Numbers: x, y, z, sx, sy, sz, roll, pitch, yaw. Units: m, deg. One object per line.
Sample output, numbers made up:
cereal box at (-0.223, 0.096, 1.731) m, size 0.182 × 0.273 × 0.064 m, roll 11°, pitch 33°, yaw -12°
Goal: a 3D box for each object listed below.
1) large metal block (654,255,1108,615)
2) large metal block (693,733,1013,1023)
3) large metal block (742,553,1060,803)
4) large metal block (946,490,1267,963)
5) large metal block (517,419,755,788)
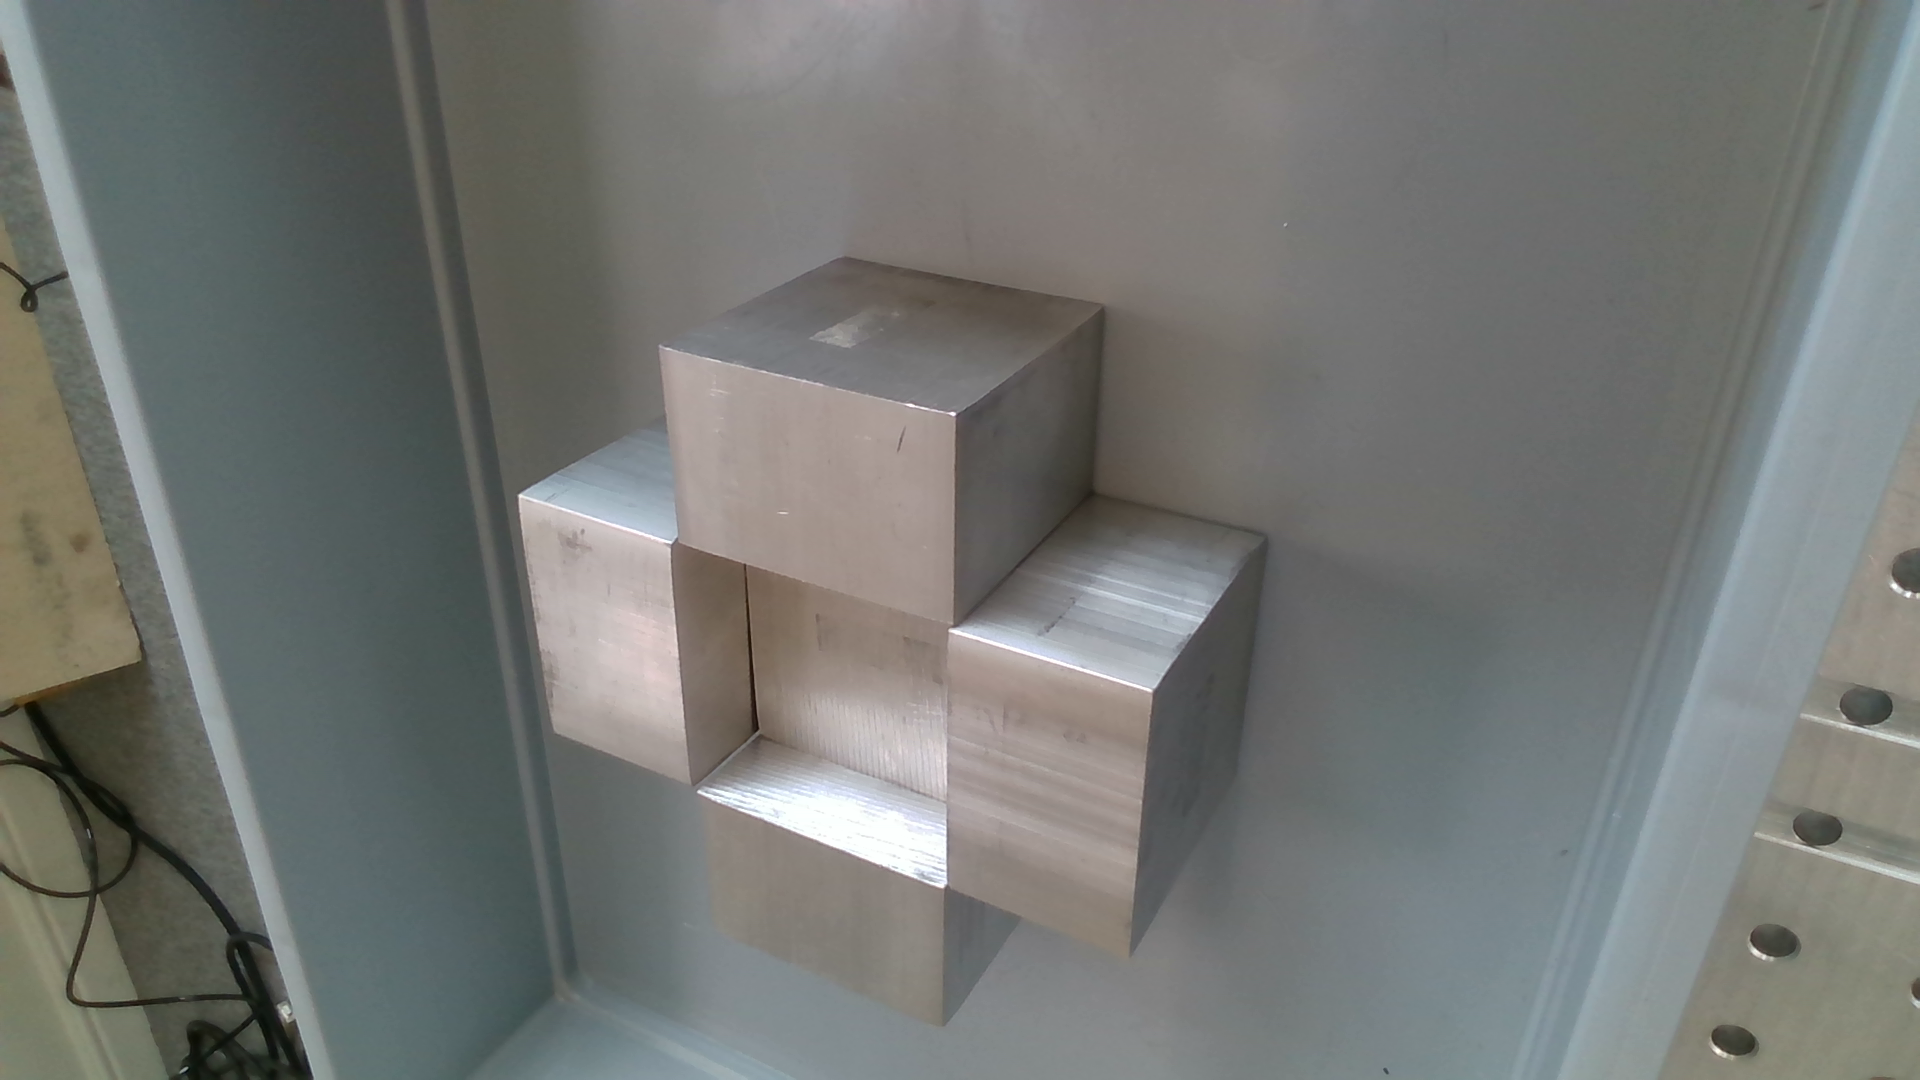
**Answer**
large metal block at (-0.017, -0.031, 0.346) m, size 0.080 × 0.080 × 0.050 m, roll 15°, pitch 122°, yaw 24°
large metal block at (-0.021, 0.084, 0.412) m, size 0.080 × 0.080 × 0.050 m, roll 15°, pitch 122°, yaw 24°
large metal block at (-0.013, 0.022, 0.390) m, size 0.080 × 0.050 × 0.080 m, roll 15°, pitch 122°, yaw 24°
large metal block at (0.038, 0.044, 0.353) m, size 0.050 × 0.080 × 0.080 m, roll 15°, pitch 122°, yaw 24°
large metal block at (-0.078, 0.011, 0.406) m, size 0.050 × 0.080 × 0.080 m, roll 16°, pitch 122°, yaw 24°
